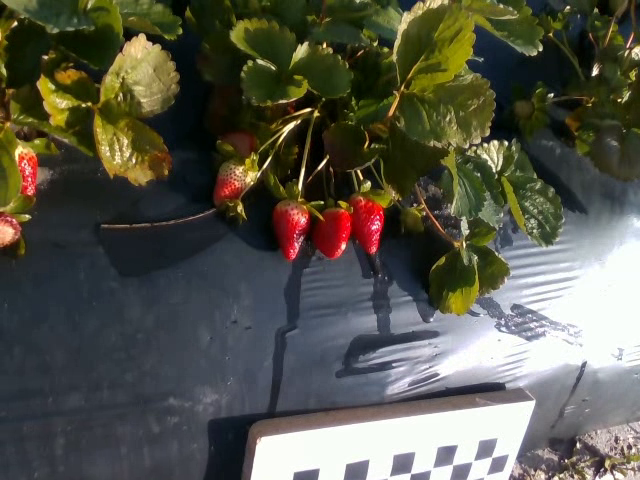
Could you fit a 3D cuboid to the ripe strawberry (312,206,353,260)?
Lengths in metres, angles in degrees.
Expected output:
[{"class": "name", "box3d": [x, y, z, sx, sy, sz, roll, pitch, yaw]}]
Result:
[{"class": "ripe strawberry", "box3d": [0.009, -0.004, 0.441, 0.031, 0.039, 0.036, 11, -47, -25]}]

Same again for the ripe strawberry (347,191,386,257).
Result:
[{"class": "ripe strawberry", "box3d": [0.034, -0.006, 0.455, 0.035, 0.041, 0.033, -4, -28, -20]}]

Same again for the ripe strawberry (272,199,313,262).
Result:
[{"class": "ripe strawberry", "box3d": [-0.020, -0.006, 0.436, 0.032, 0.045, 0.023, 0, 7, -22]}]
